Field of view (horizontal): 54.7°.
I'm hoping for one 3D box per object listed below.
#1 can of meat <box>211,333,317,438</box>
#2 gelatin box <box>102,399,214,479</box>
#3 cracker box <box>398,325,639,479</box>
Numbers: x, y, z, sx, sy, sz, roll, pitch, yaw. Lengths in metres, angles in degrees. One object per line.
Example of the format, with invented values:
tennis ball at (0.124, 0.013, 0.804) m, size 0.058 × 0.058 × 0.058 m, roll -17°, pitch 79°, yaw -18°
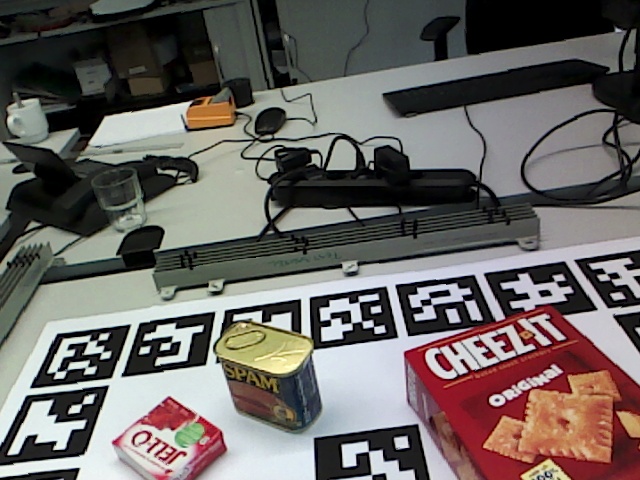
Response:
can of meat at (-0.056, 0.153, 0.652) m, size 0.102 × 0.083 × 0.057 m, roll 6°, pitch 31°, yaw 31°
gelatin box at (-0.163, 0.208, 0.627) m, size 0.090 × 0.030 × 0.073 m, roll 18°, pitch 36°, yaw 38°
cracker box at (0.186, 0.172, 0.545) m, size 0.164 × 0.072 × 0.215 m, roll -15°, pitch 27°, yaw -12°
